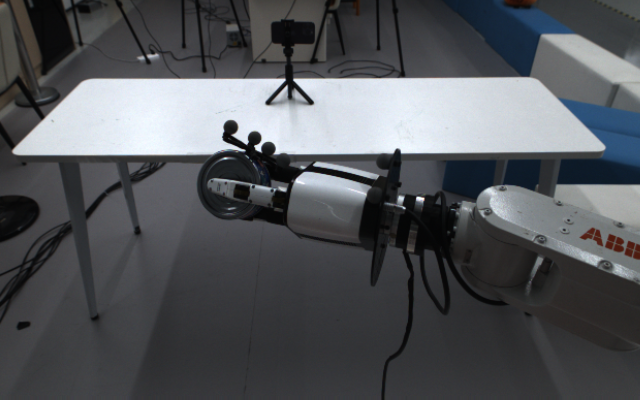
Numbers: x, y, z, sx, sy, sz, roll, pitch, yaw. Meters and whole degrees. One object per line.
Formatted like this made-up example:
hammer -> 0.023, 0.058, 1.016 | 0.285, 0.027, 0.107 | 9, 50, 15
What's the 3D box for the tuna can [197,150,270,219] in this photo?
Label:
tuna can -> -0.102, -0.011, 0.589 | 0.085, 0.085, 0.034 | 12, 4, 15
